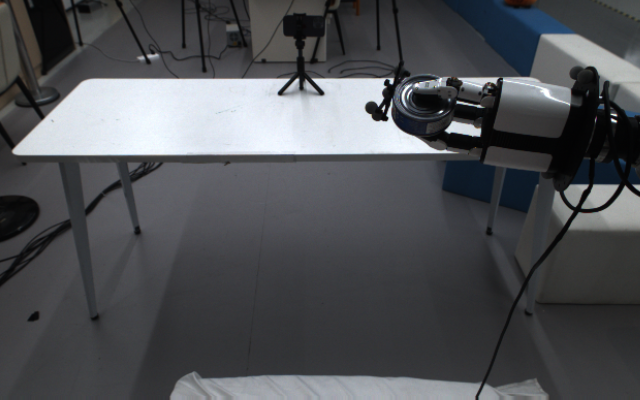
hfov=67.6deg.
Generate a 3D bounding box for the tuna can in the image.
[{"bbox_3d":[0.143,-0.132,0.664,0.085,0.034,0.085,-1,61,1],"label":"tuna can"}]
